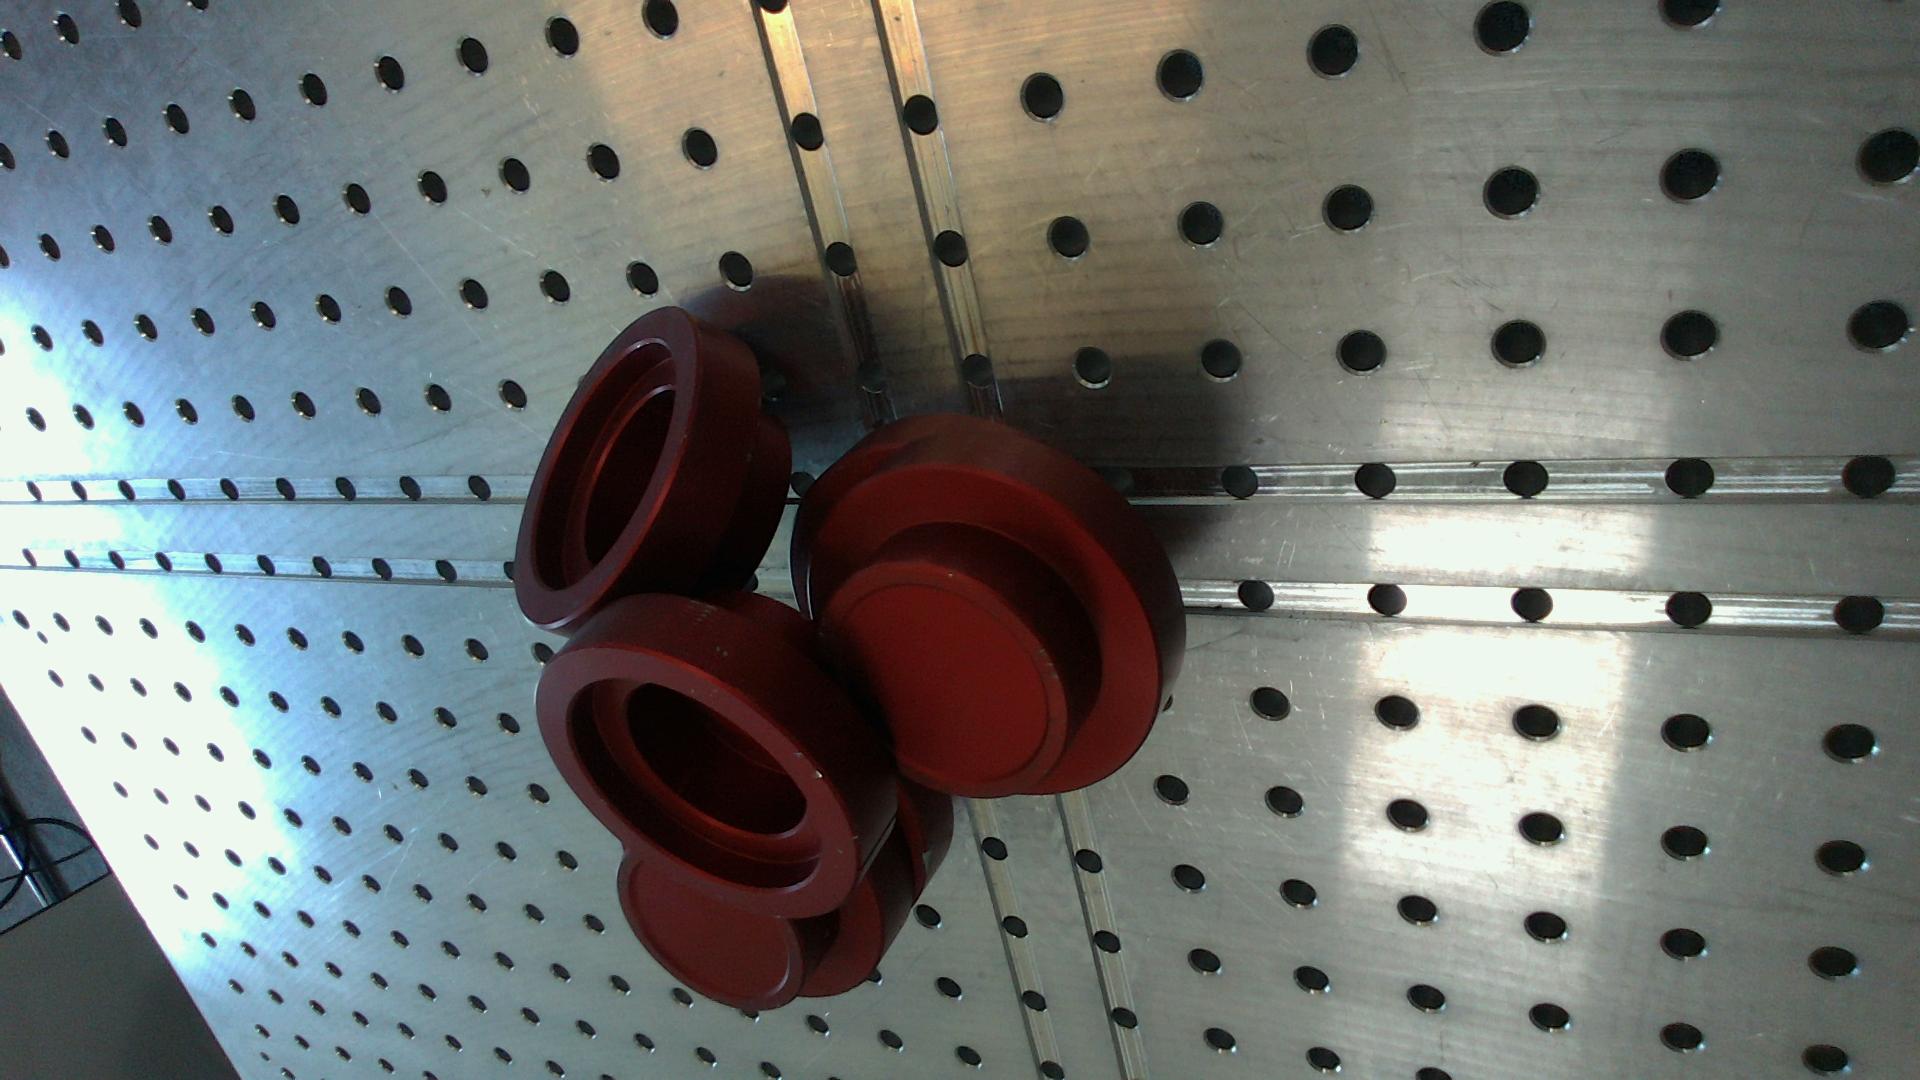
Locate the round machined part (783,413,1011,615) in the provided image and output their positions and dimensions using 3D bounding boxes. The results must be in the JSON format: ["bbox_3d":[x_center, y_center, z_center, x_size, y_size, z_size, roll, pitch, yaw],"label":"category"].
[{"bbox_3d":[-0.006,0.019,0.373,0.098,0.042,0.098,13,124,21],"label":"round machined part"}]

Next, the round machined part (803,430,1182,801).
[{"bbox_3d":[0.003,0.025,0.344,0.098,0.042,0.098,13,123,21],"label":"round machined part"}]

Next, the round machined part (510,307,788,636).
[{"bbox_3d":[-0.087,-0.014,0.398,0.042,0.098,0.098,26,138,-35],"label":"round machined part"}]

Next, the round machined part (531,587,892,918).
[{"bbox_3d":[-0.061,0.052,0.367,0.098,0.042,0.098,17,134,19],"label":"round machined part"}]

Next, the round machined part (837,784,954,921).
[{"bbox_3d":[-0.055,0.088,0.442,0.098,0.042,0.098,13,124,21],"label":"round machined part"}]

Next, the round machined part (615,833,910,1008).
[{"bbox_3d":[-0.068,0.107,0.433,0.098,0.042,0.098,13,124,21],"label":"round machined part"}]
